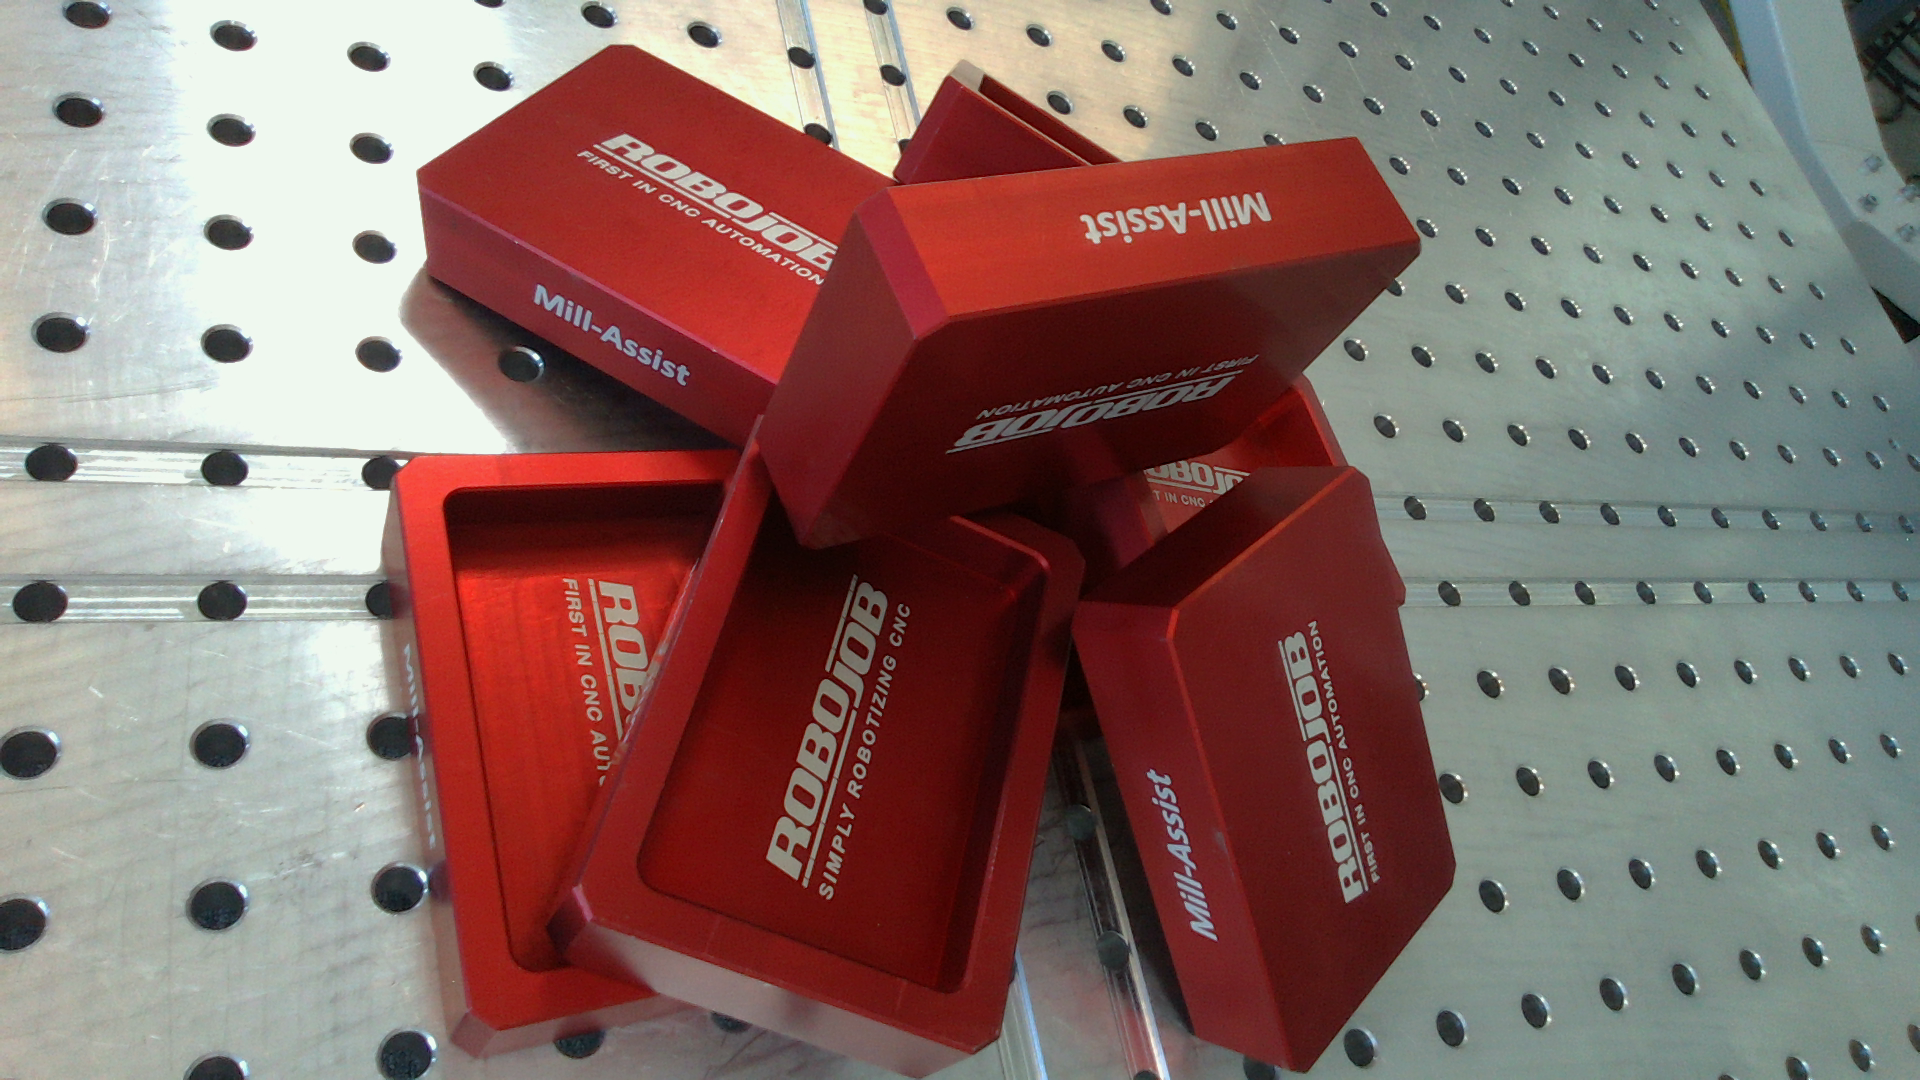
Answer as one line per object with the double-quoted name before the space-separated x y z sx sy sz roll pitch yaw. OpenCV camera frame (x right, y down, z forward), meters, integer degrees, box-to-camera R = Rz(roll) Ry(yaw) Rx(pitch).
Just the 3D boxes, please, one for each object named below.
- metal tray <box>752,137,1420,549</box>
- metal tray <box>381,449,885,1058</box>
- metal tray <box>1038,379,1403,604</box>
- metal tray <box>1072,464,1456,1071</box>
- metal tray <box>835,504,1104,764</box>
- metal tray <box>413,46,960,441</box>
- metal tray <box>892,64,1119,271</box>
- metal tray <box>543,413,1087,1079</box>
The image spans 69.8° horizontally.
"metal tray" 0.027 -0.044 0.309 0.130 0.090 0.030 -14 69 -29
"metal tray" -0.079 0.042 0.321 0.090 0.030 0.130 -4 63 -31
"metal tray" 0.075 -0.017 0.417 0.131 0.030 0.090 6 57 -45
"metal tray" 0.084 0.056 0.357 0.090 0.030 0.130 -33 113 -38
"metal tray" -0.006 -0.005 0.389 0.090 0.030 0.130 -4 61 -32
"metal tray" -0.069 -0.081 0.380 0.130 0.030 0.090 29 50 10
"metal tray" 0.029 -0.110 0.429 0.090 0.030 0.130 29 19 -9
"metal tray" -0.026 0.042 0.311 0.090 0.030 0.130 24 53 -13
